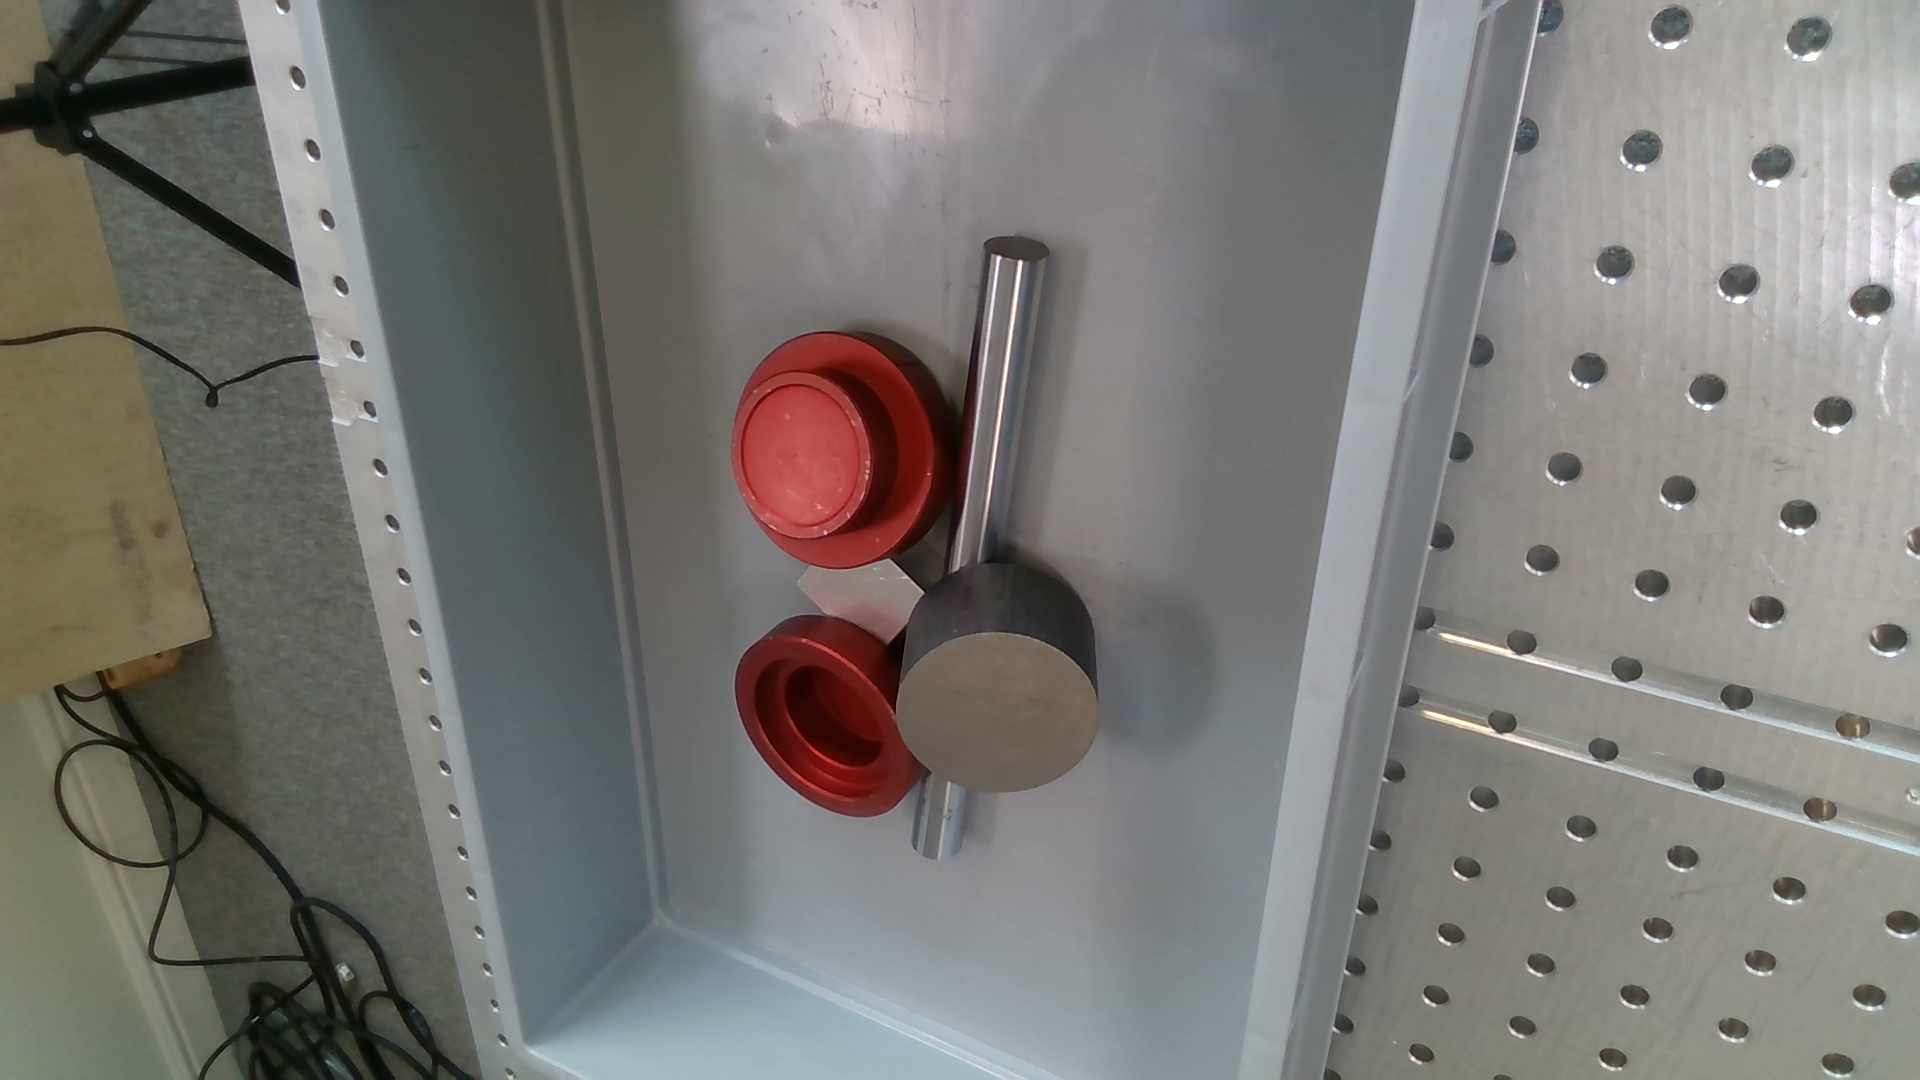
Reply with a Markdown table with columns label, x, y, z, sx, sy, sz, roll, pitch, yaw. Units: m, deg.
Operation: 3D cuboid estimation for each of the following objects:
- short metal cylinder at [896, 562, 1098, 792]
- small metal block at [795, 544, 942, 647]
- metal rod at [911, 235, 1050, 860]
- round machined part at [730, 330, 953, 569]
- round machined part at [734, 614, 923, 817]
| label | x | y | z | sx | sy | sz | roll | pitch | yaw |
| --- | --- | --- | --- | --- | --- | --- | --- | --- | --- |
| short metal cylinder | 0.016 | 0.056 | 0.565 | 0.080 | 0.050 | 0.080 | 1 | 122 | 2 |
| small metal block | -0.038 | 0.017 | 0.611 | 0.050 | 0.025 | 0.050 | 44 | 129 | 3 |
| metal rod | 0.005 | 0.019 | 0.586 | 0.025 | 0.025 | 0.301 | 21 | 124 | 21 |
| round machined part | -0.055 | -0.037 | 0.564 | 0.098 | 0.042 | 0.098 | 4 | 99 | 27 |
| round machined part | -0.054 | 0.076 | 0.640 | 0.098 | 0.042 | 0.098 | 17 | 126 | 26 |
